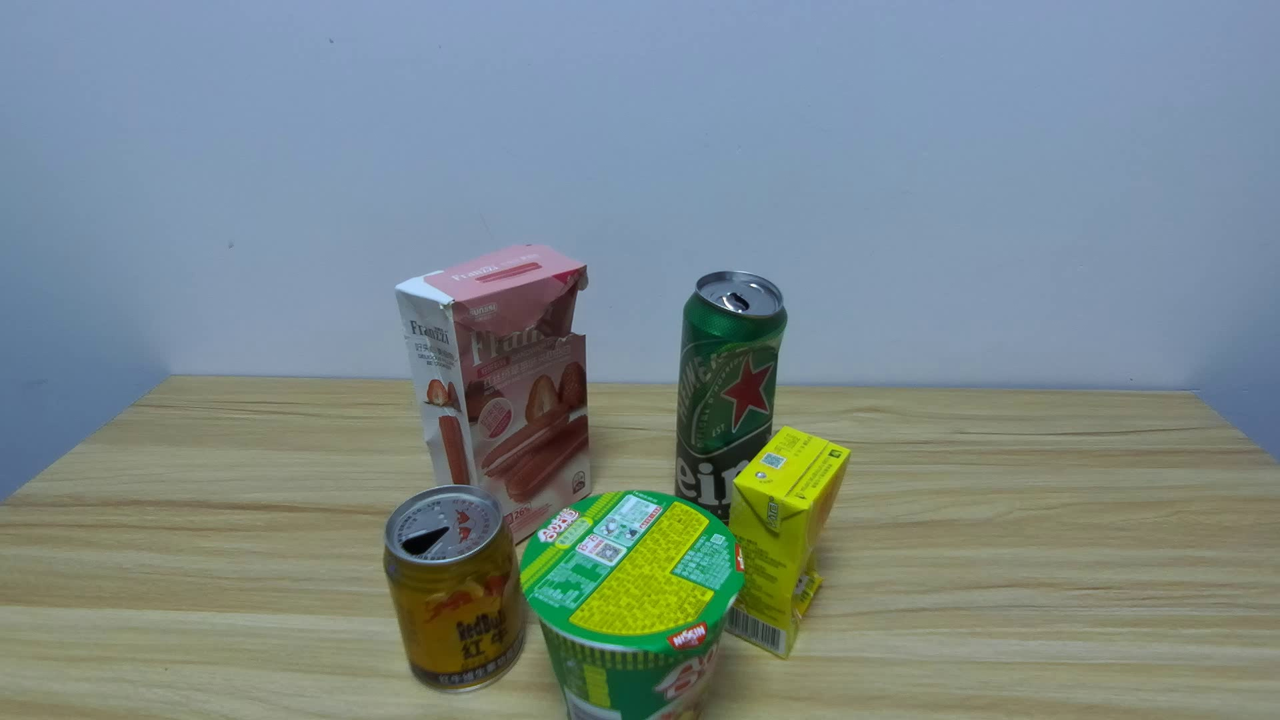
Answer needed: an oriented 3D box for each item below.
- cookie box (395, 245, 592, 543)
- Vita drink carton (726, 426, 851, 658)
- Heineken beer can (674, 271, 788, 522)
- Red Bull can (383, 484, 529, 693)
[{"bbox_3d":[-0.086,0.028,0.462,0.059,0.186,0.105,25,37,38],"label":"cookie box"},{"bbox_3d":[0.084,0.100,0.400,0.043,0.109,0.076,17,32,31],"label":"Vita drink carton"},{"bbox_3d":[0.060,0.029,0.472,0.068,0.168,0.069,2,31,1],"label":"Heineken beer can"},{"bbox_3d":[-0.098,0.122,0.382,0.068,0.093,0.068,-2,27,1],"label":"Red Bull can"}]
